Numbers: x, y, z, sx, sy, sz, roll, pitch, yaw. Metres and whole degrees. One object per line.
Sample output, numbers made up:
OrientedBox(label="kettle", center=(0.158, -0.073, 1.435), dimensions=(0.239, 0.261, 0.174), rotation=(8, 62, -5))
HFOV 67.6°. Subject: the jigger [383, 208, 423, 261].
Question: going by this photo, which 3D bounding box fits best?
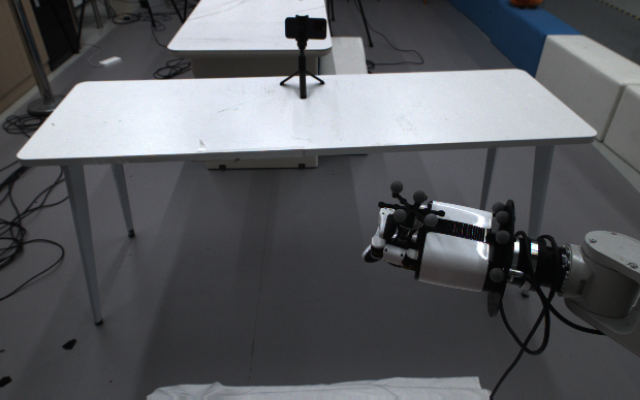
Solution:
OrientedBox(label="jigger", center=(0.117, 0.055, 0.675), dimensions=(0.043, 0.071, 0.043), rotation=(7, 32, -4))
